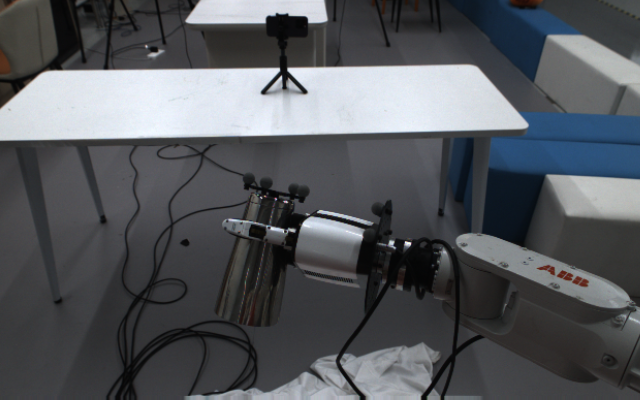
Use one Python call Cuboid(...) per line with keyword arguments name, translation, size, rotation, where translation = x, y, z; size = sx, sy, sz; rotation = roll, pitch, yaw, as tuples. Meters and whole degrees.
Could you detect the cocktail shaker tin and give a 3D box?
Cuboid(name="cocktail shaker tin", translation=(-0.082, 0.077, 0.679), size=(0.093, 0.170, 0.093), rotation=(13, 1, 0))
